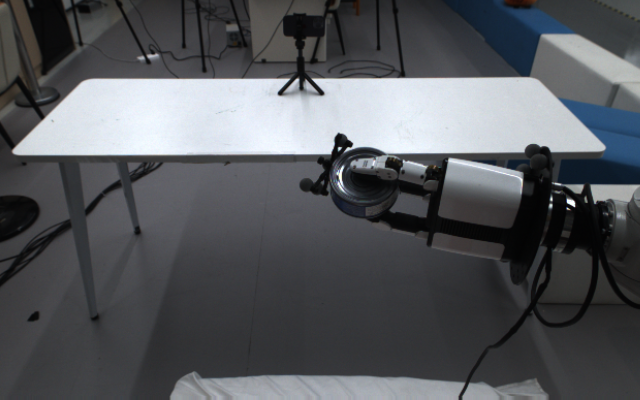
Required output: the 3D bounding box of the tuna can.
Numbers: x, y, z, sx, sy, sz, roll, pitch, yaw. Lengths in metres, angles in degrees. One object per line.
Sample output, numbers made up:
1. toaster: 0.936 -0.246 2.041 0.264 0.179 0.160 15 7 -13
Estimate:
1. tuna can: 0.056 -0.024 0.594 0.085 0.034 0.085 -1 61 1
